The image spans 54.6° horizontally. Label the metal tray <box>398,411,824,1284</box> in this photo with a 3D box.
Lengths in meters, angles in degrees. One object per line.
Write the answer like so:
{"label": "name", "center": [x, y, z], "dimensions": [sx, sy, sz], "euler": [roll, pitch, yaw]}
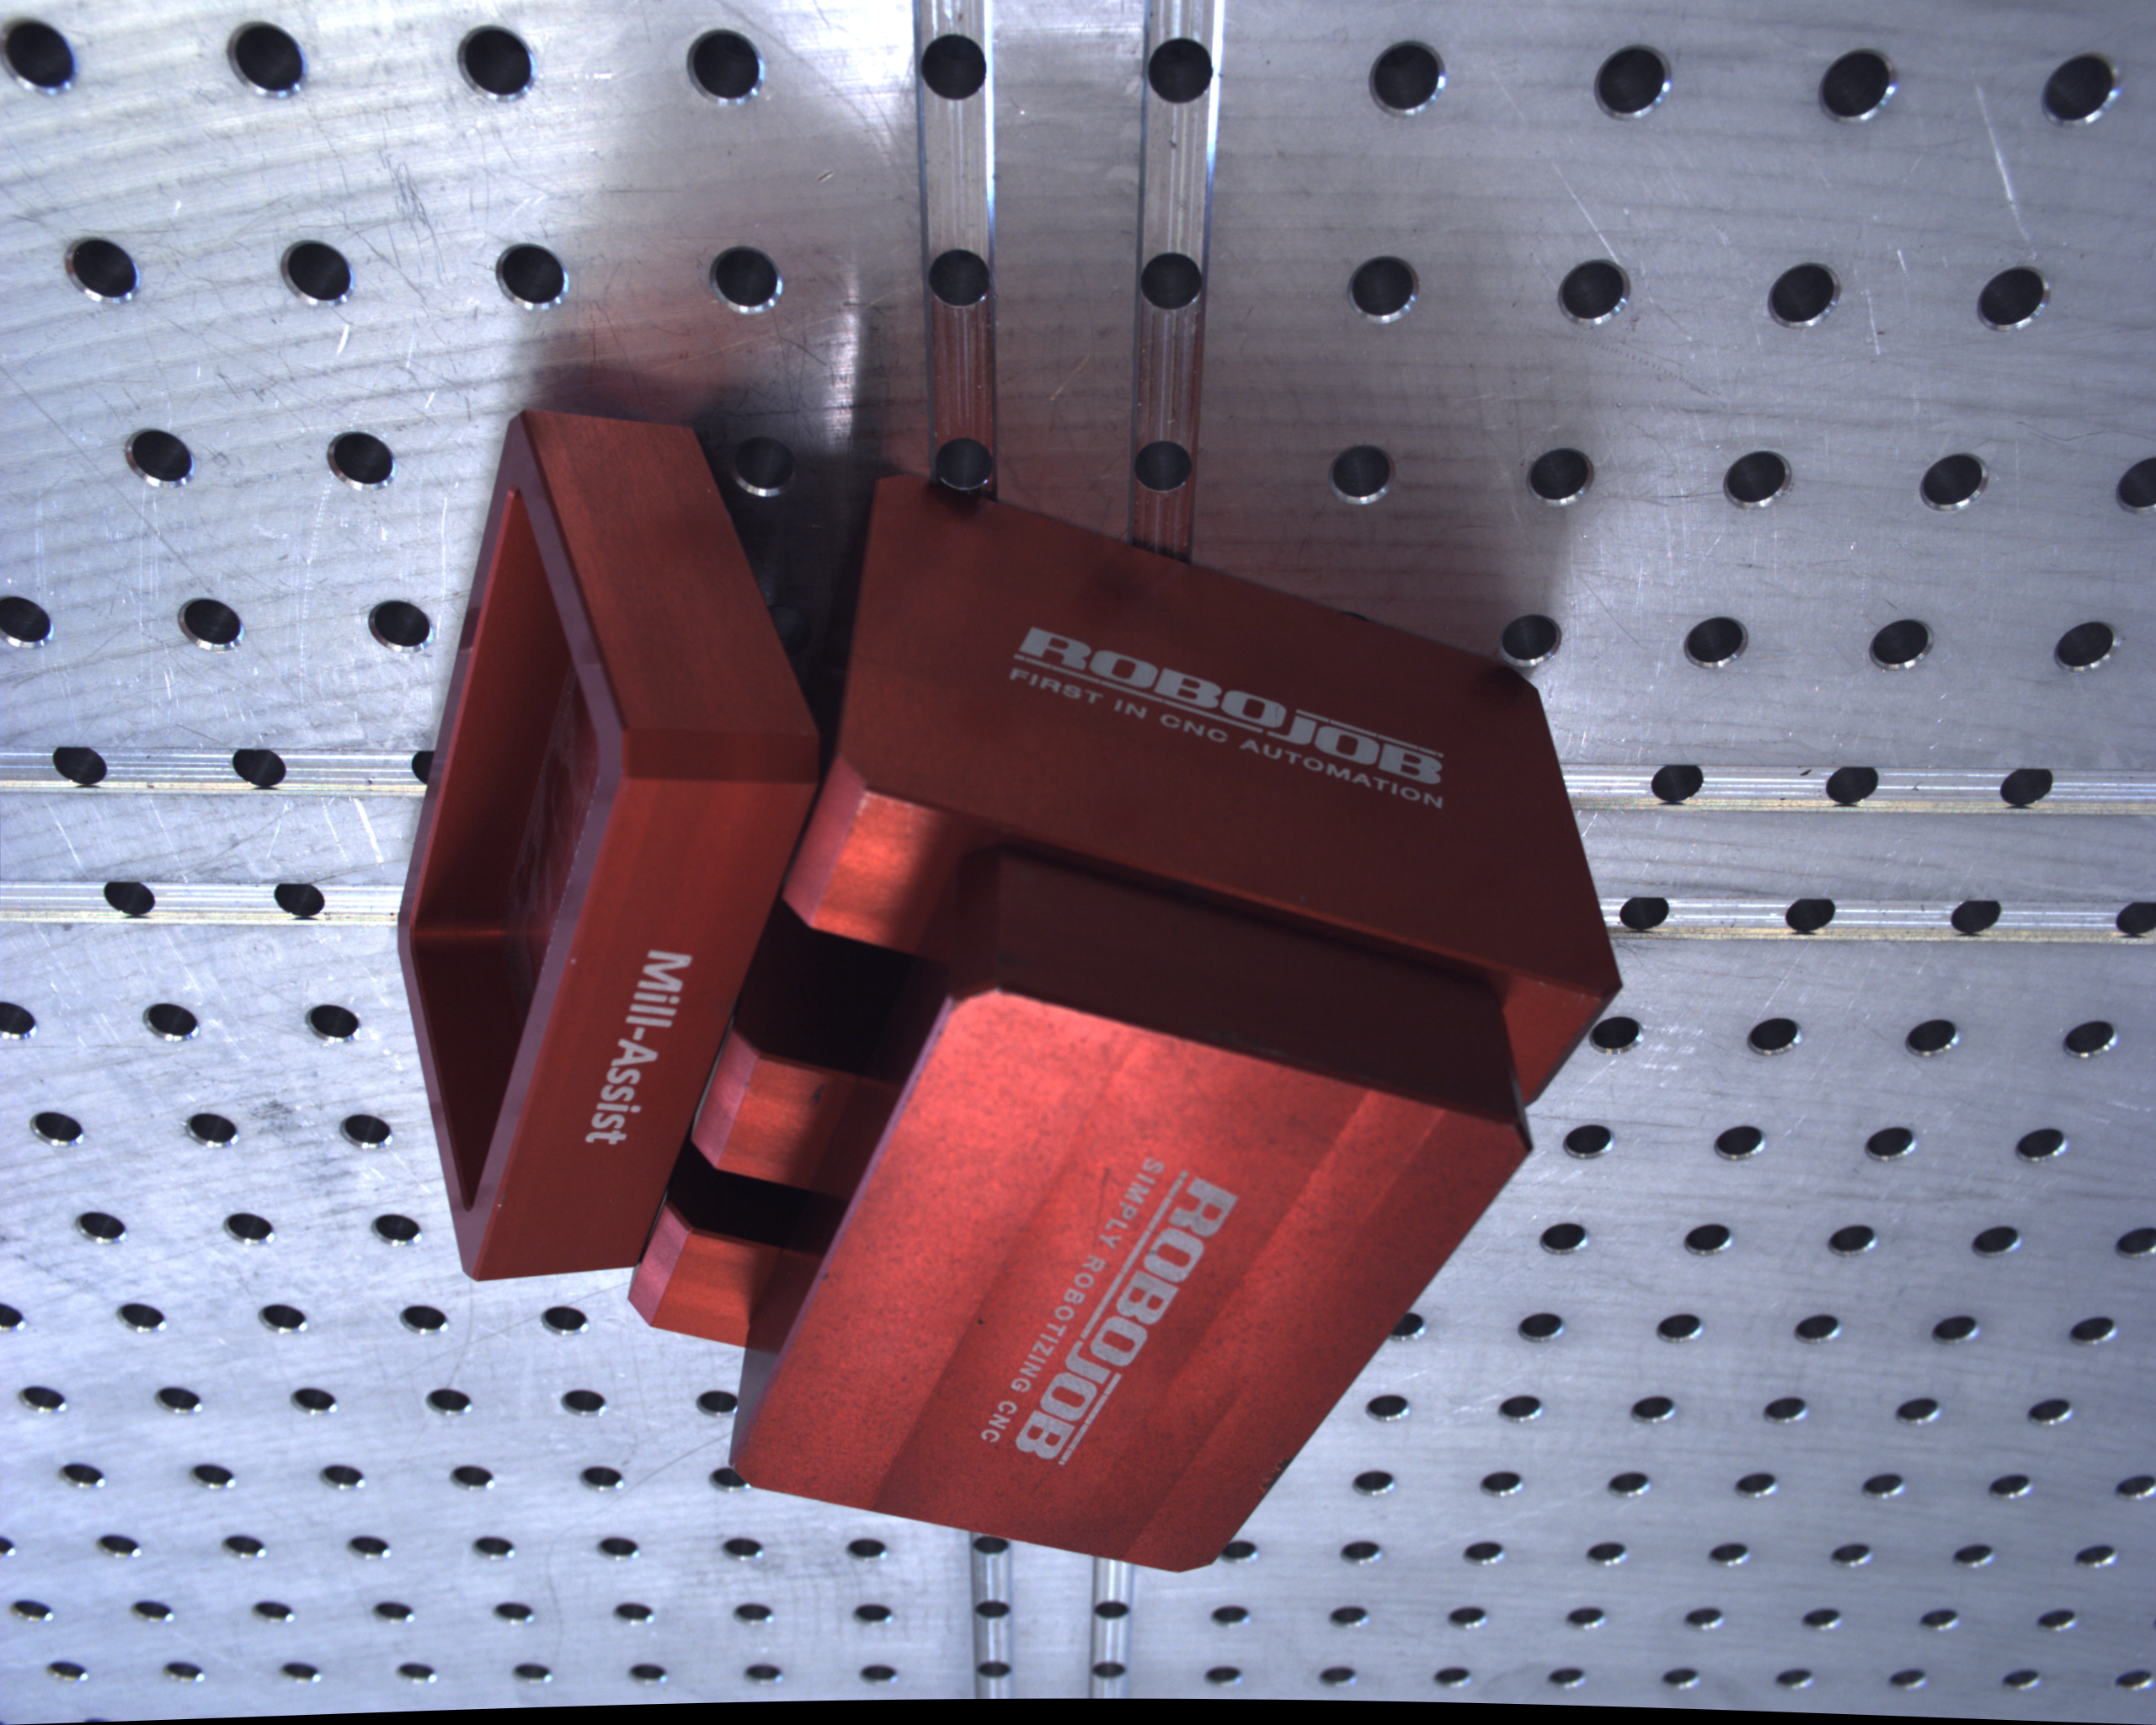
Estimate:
{"label": "metal tray", "center": [-0.087, 0.000, 0.364], "dimensions": [0.030, 0.090, 0.129], "euler": [1, 134, -30]}

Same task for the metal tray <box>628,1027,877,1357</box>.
{"label": "metal tray", "center": [-0.017, 0.062, 0.421], "dimensions": [0.131, 0.090, 0.030], "euler": [16, 128, -14]}

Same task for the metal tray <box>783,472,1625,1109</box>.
{"label": "metal tray", "center": [0.021, -0.013, 0.356], "dimensions": [0.131, 0.090, 0.030], "euler": [16, 129, -13]}

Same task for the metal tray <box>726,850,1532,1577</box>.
{"label": "metal tray", "center": [0.003, 0.064, 0.343], "dimensions": [0.091, 0.030, 0.129], "euler": [16, 128, -13]}

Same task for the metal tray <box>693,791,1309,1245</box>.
{"label": "metal tray", "center": [0.000, 0.029, 0.392], "dimensions": [0.131, 0.090, 0.030], "euler": [15, 127, -14]}
